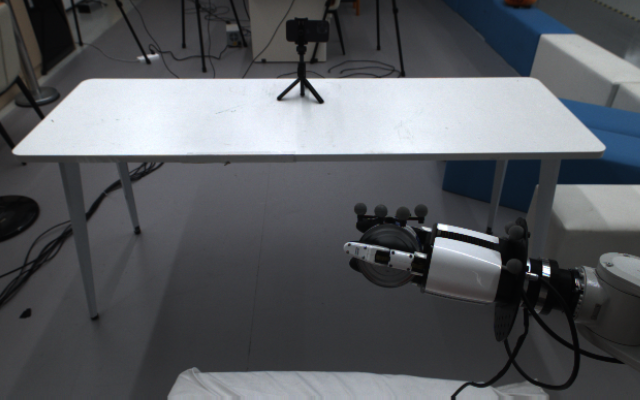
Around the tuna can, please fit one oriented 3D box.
[{"bbox_3d":[0.095,0.070,0.643,0.085,0.085,0.034,12,8,15],"label":"tuna can"}]
